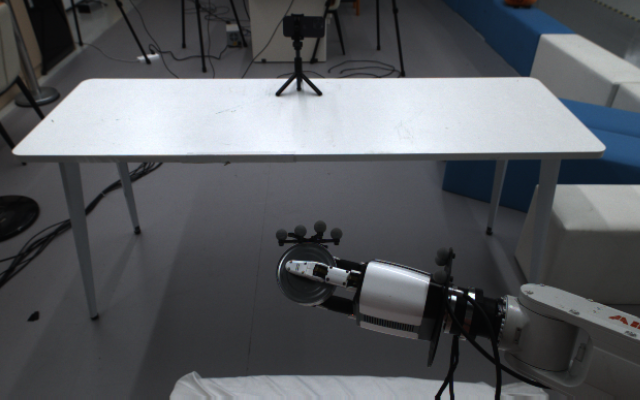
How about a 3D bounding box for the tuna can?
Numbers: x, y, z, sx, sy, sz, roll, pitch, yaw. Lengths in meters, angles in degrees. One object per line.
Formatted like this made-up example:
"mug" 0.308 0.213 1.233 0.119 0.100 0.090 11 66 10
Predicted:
"tuna can" -0.015 0.109 0.674 0.085 0.034 0.085 -2 69 6
